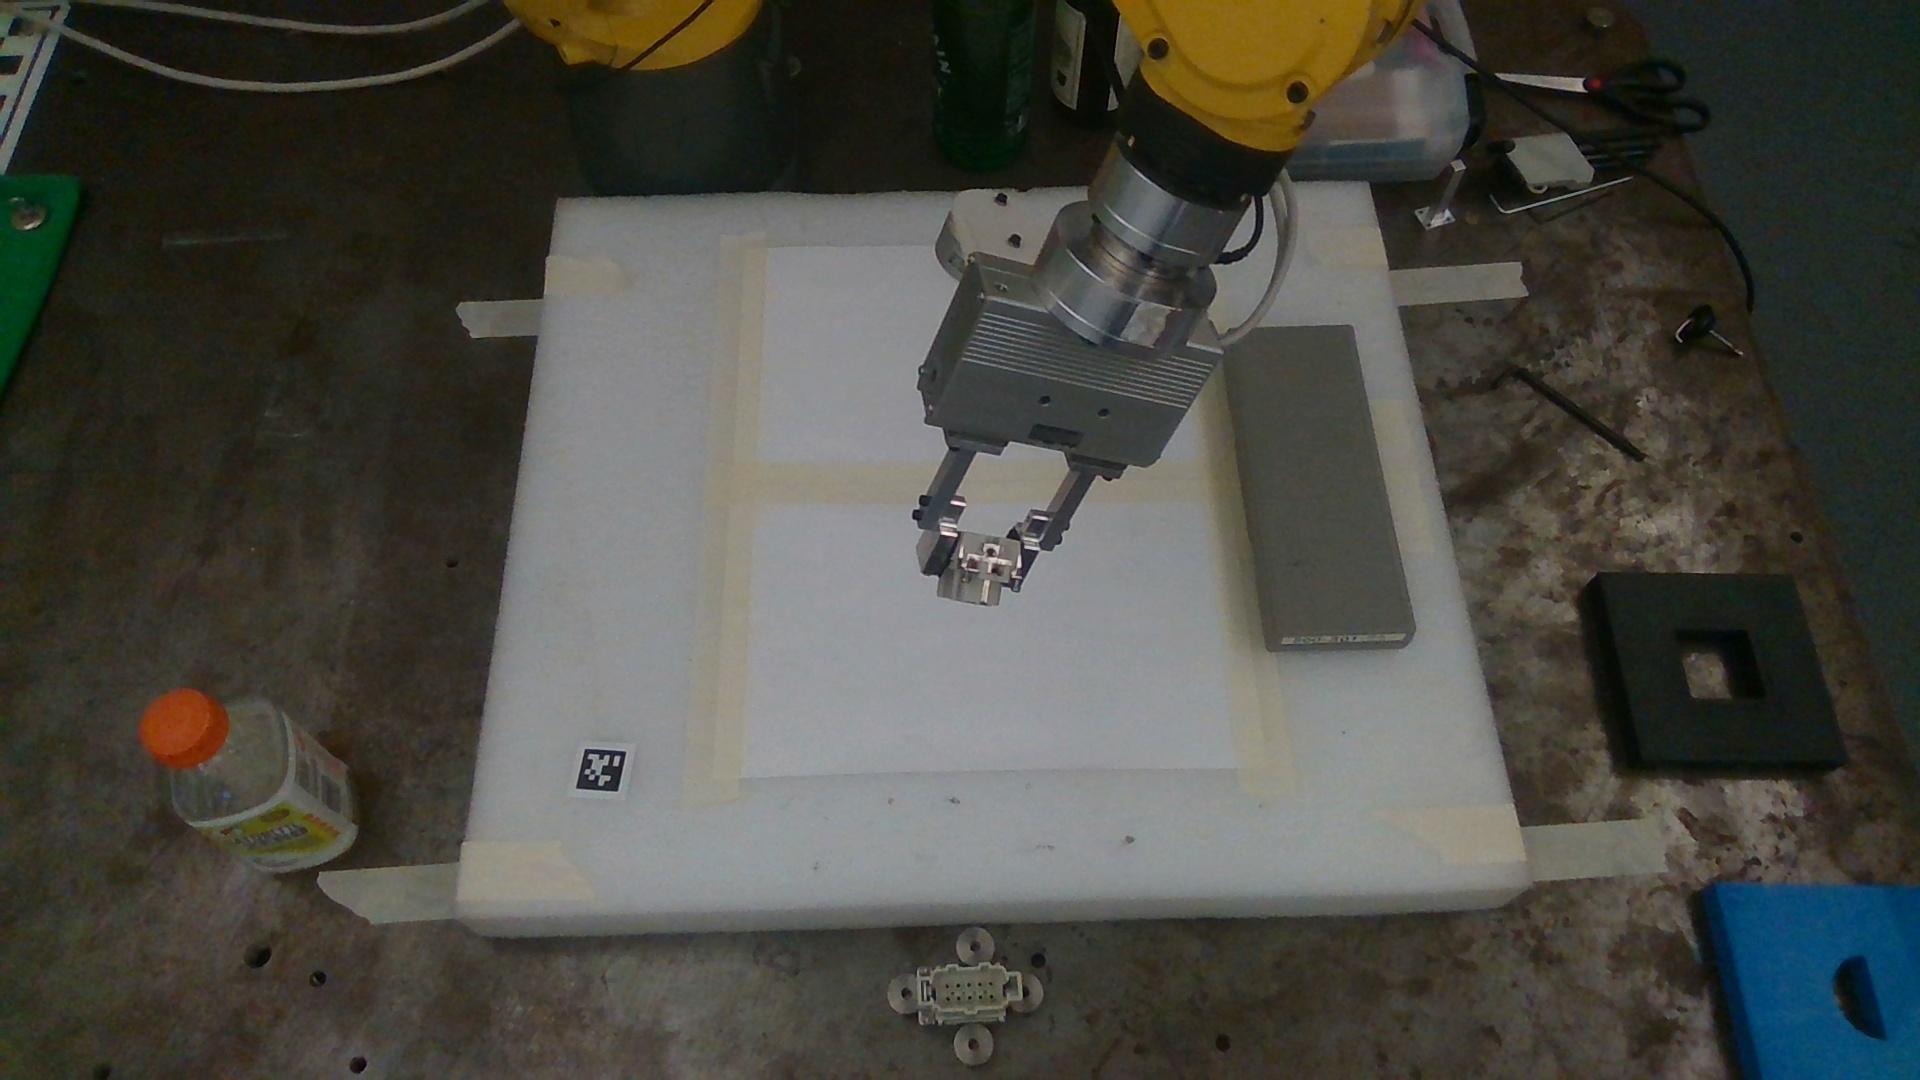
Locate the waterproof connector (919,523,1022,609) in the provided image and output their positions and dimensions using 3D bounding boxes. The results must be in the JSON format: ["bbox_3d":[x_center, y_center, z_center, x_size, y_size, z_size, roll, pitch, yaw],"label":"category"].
[{"bbox_3d":[0.006,0.014,0.760,0.036,0.069,0.038,10,93,-25],"label":"waterproof connector"}]
